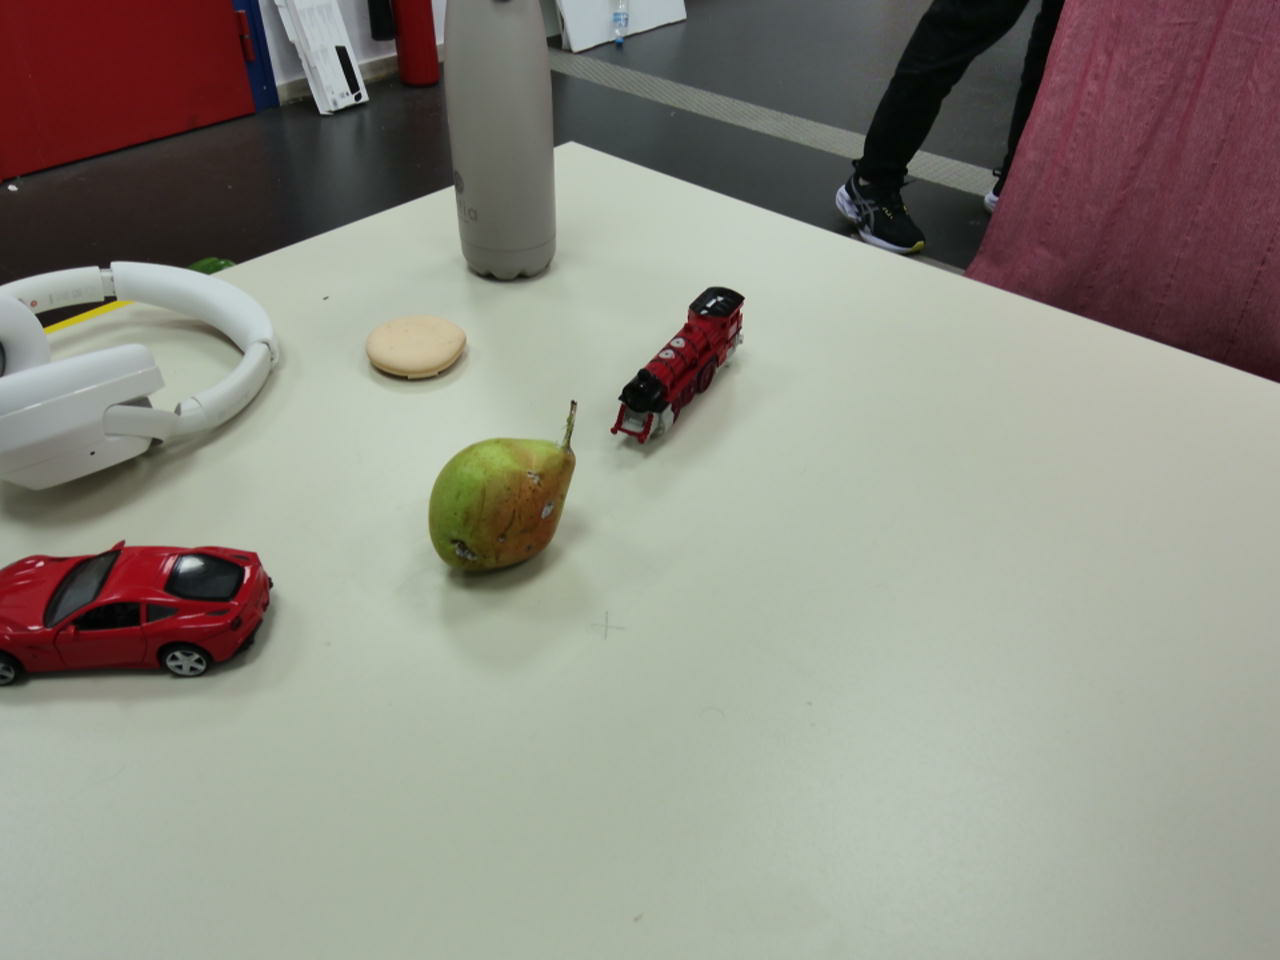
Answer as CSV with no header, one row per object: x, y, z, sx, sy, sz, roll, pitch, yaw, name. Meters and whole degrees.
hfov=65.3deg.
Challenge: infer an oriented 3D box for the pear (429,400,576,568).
-0.067,0.007,0.488,0.070,0.069,0.068,1,37,1,pear
